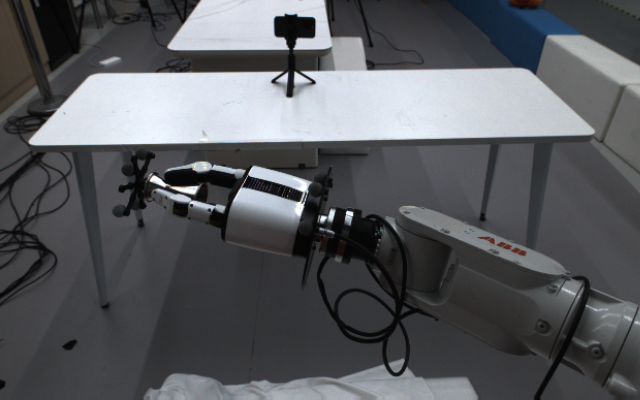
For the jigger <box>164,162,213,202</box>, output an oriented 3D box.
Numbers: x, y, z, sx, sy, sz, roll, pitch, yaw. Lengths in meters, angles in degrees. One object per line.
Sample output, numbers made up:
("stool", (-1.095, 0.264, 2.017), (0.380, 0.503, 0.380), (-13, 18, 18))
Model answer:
("jigger", (-0.177, -0.010, 0.617), (0.071, 0.043, 0.043), (14, 36, 4))
